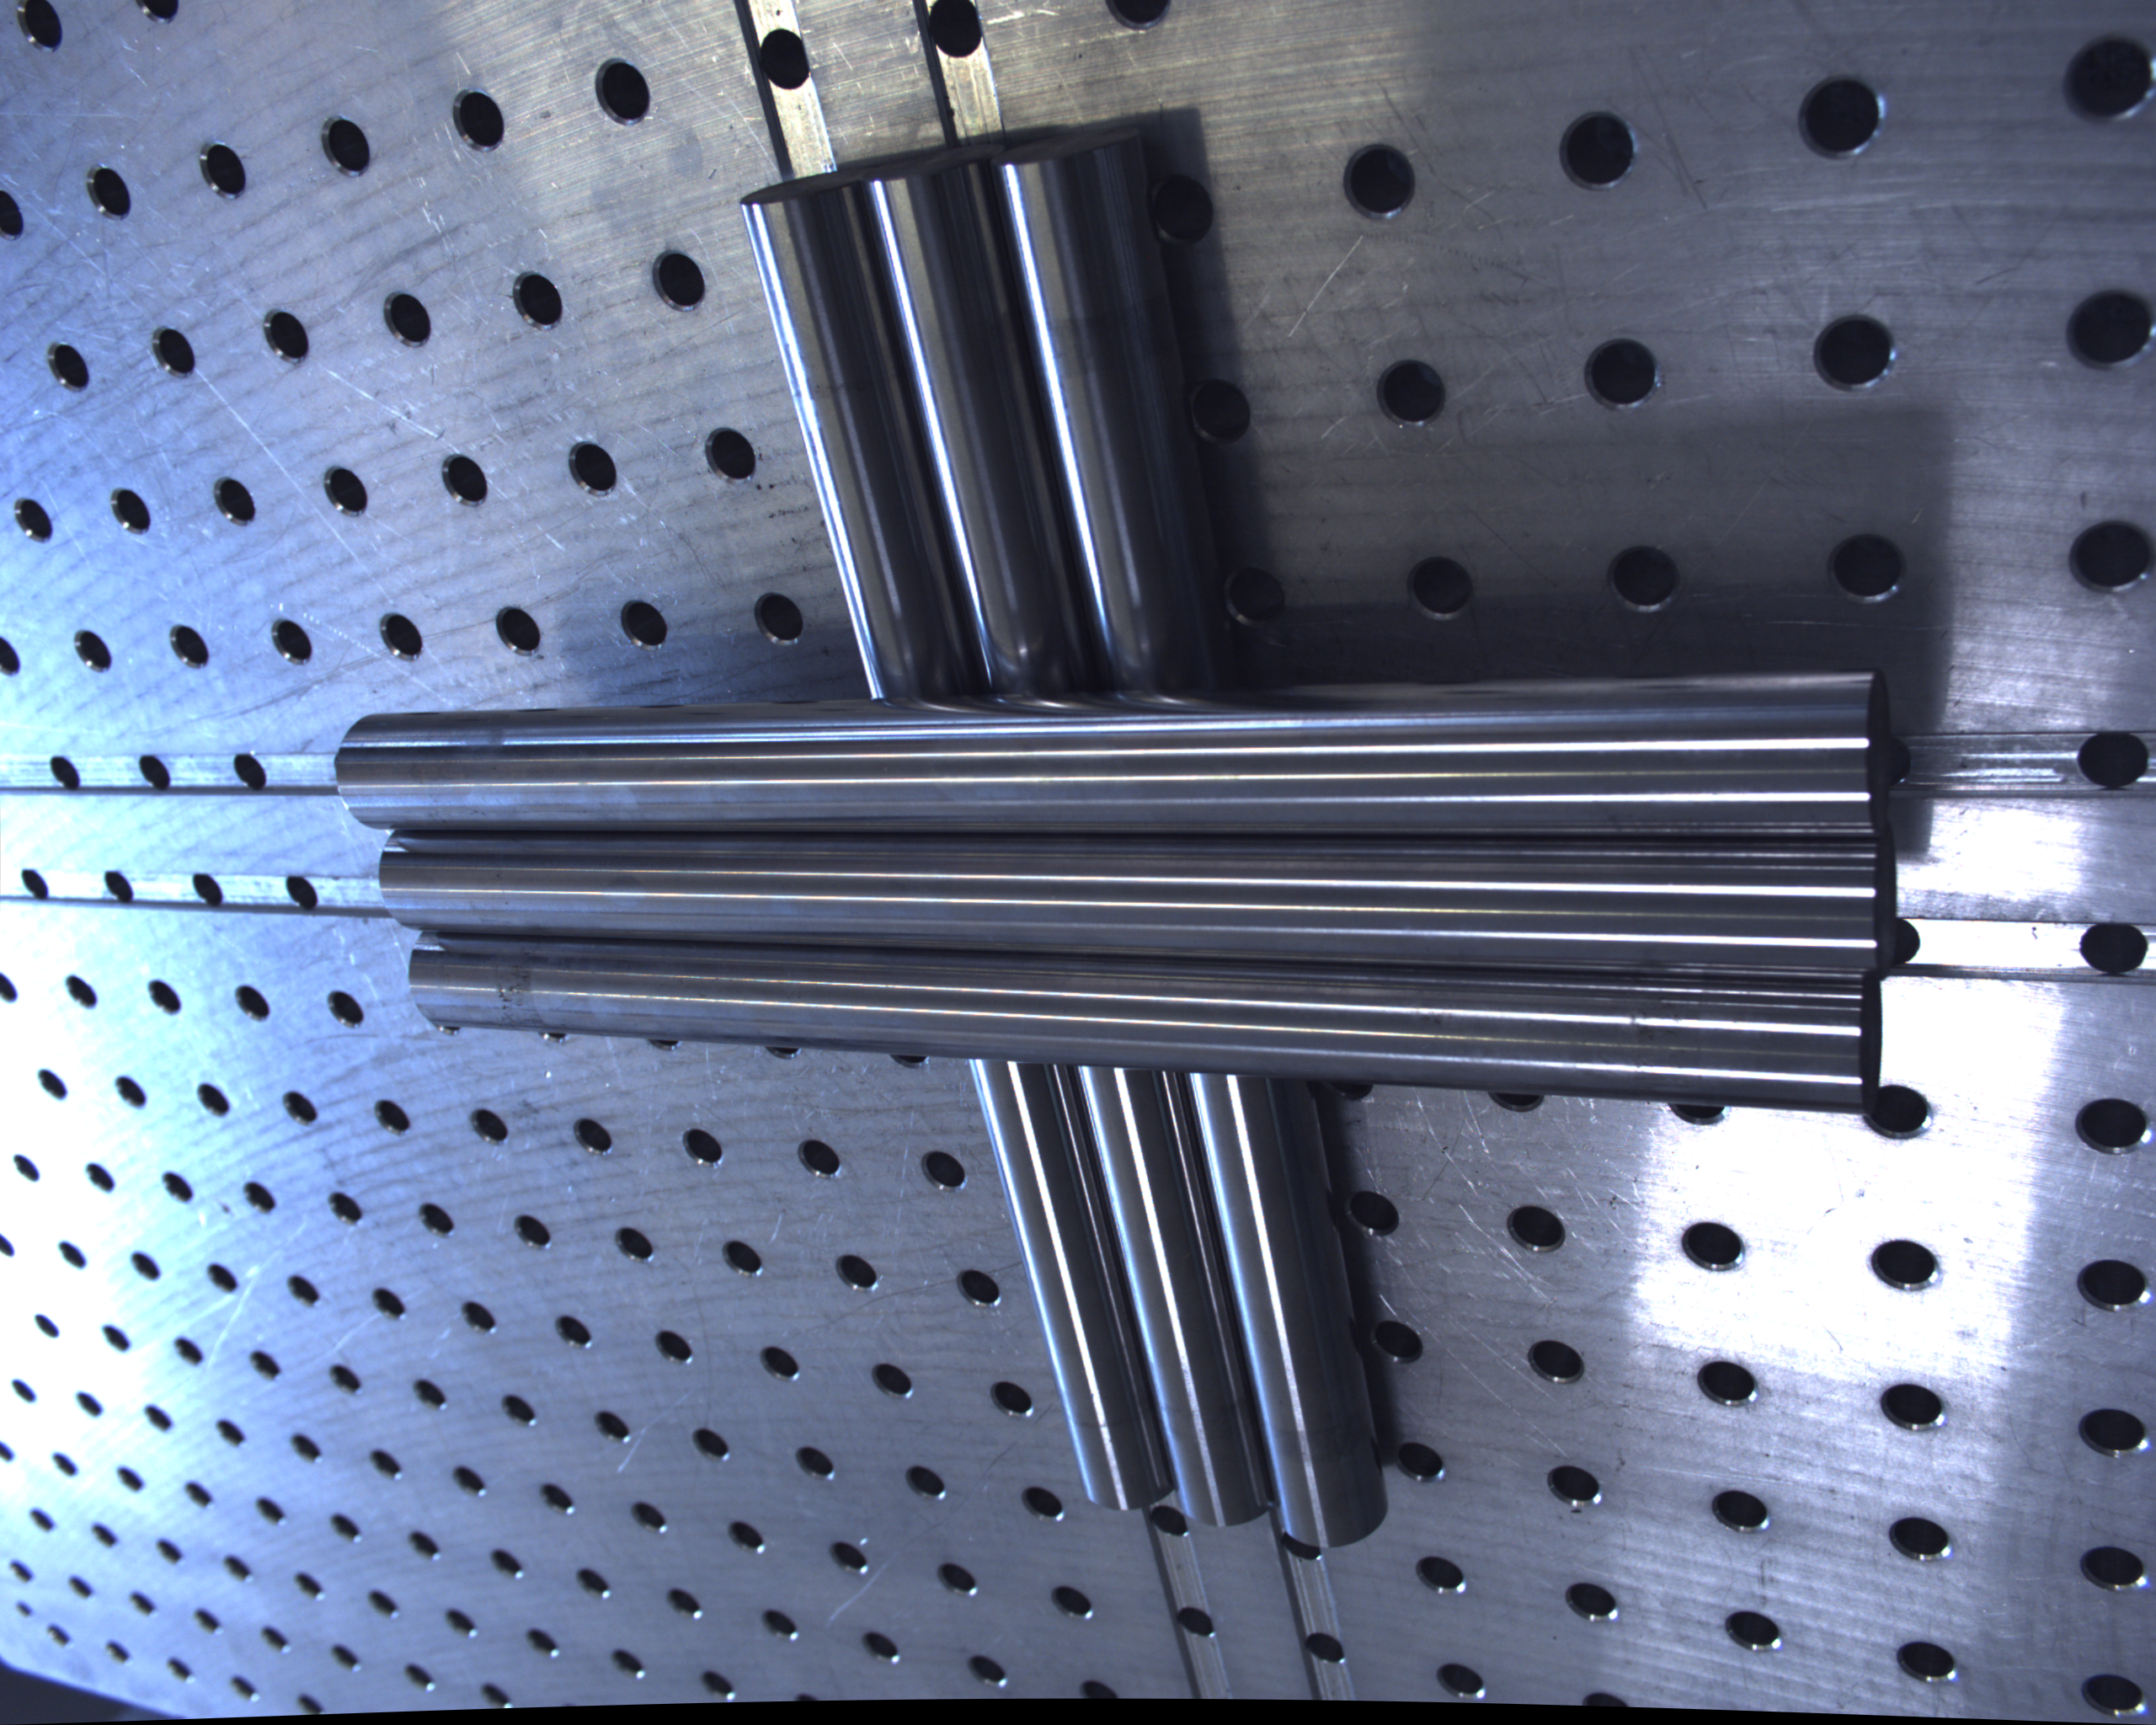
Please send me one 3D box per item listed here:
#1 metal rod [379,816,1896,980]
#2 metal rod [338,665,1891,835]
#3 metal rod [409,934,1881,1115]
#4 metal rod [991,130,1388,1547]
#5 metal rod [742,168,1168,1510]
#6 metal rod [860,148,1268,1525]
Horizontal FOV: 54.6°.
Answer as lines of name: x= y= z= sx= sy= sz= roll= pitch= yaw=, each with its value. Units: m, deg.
metal rod: x=-0.010 y=0.004 z=0.387 sx=0.300 sy=0.025 sz=0.025 roll=1 pitch=119 yaw=28
metal rod: x=-0.015 y=-0.018 z=0.376 sx=0.300 sy=0.025 sz=0.025 roll=1 pitch=119 yaw=28
metal rod: x=-0.008 y=0.026 z=0.399 sx=0.300 sy=0.025 sz=0.025 roll=1 pitch=119 yaw=28
metal rod: x=0.028 y=0.014 z=0.406 sx=0.025 sy=0.025 sz=0.298 roll=2 pitch=119 yaw=27
metal rod: x=-0.016 y=0.013 z=0.429 sx=0.025 sy=0.025 sz=0.298 roll=2 pitch=119 yaw=27
metal rod: x=0.005 y=0.013 z=0.417 sx=0.025 sy=0.025 sz=0.298 roll=2 pitch=119 yaw=27
